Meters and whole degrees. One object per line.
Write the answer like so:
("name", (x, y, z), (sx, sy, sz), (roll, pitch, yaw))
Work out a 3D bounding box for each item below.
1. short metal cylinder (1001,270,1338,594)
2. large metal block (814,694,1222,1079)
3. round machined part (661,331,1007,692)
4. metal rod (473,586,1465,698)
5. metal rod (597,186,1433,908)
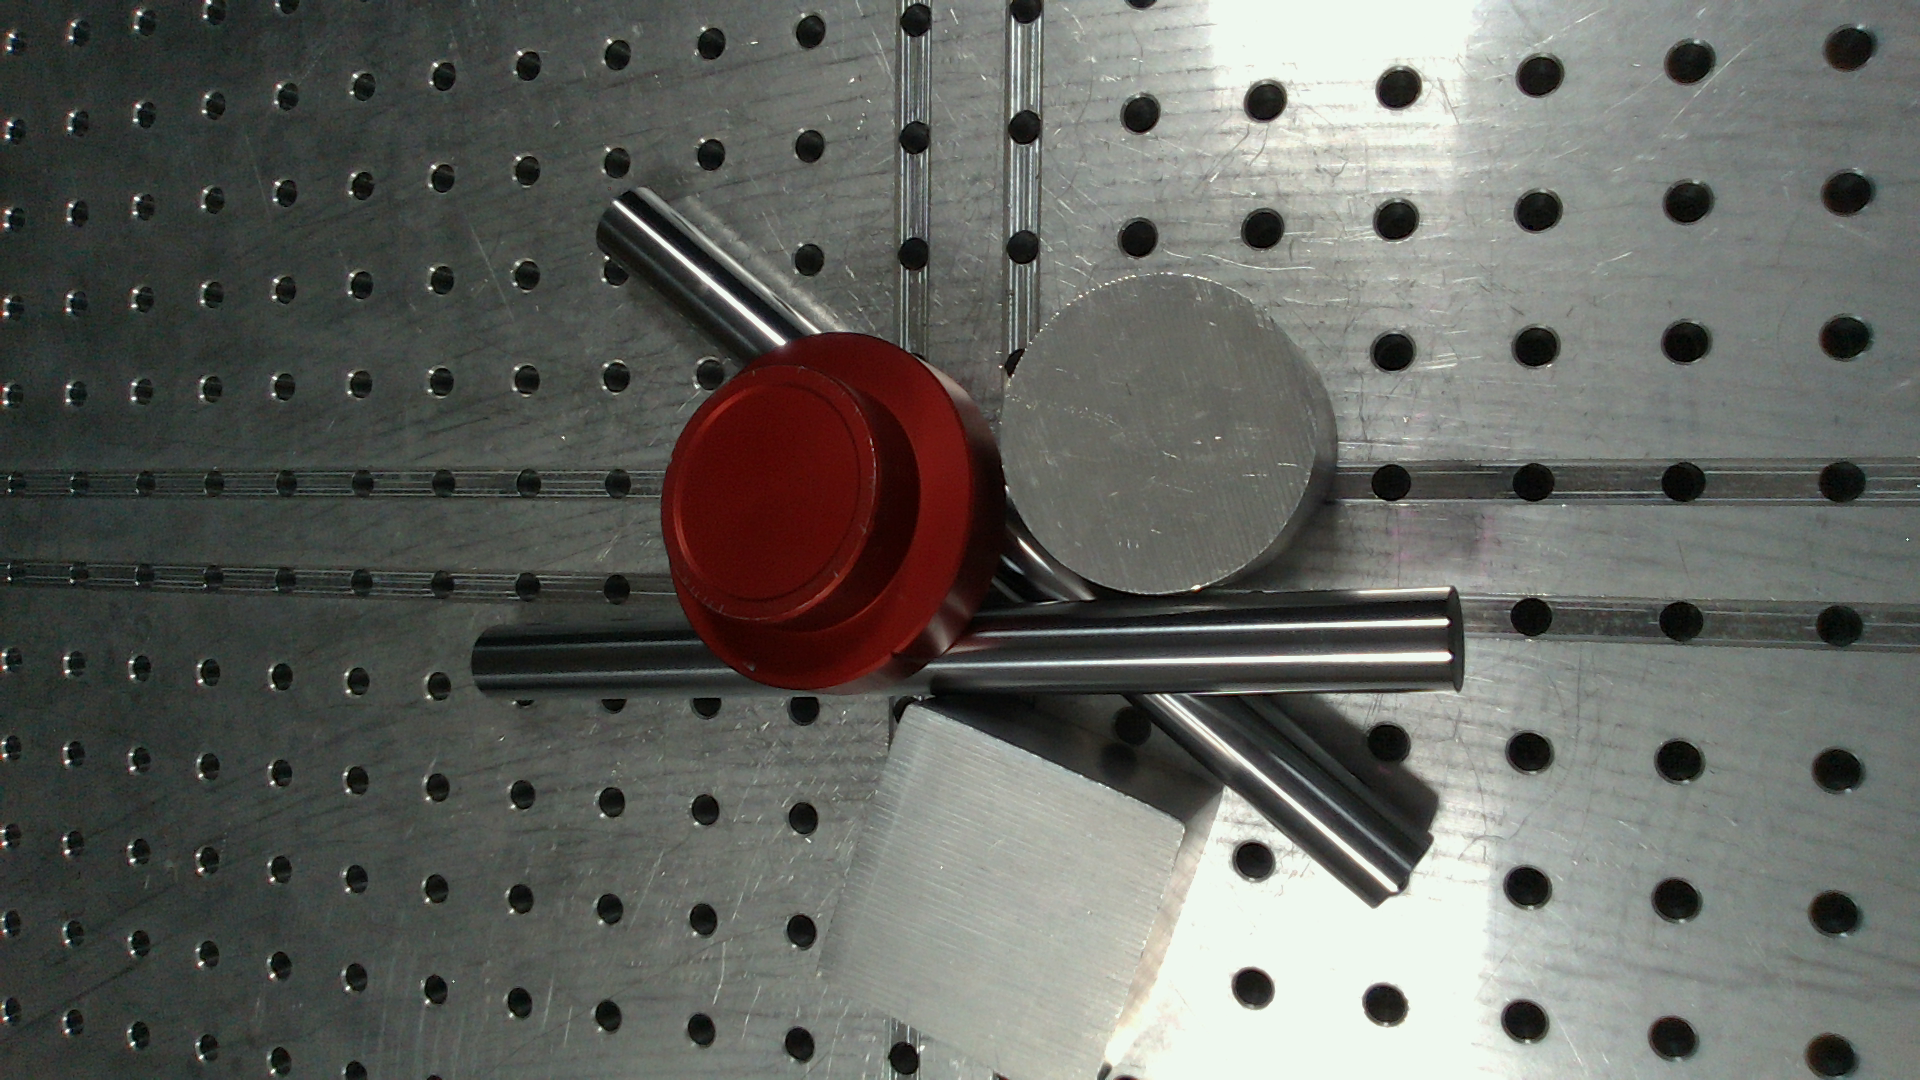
("short metal cylinder", (0.057, -0.027, 0.364), (0.080, 0.050, 0.080), (0, 90, 20))
("large metal block", (0.017, 0.093, 0.377), (0.080, 0.050, 0.080), (21, 97, 19))
("round machined part", (-0.040, -0.009, 0.368), (0.098, 0.042, 0.098), (-4, 79, 25))
("metal rod", (-0.018, 0.031, 0.385), (0.299, 0.025, 0.025), (-4, 89, 27))
("metal rod", (0.005, -0.008, 0.397), (0.300, 0.025, 0.025), (40, 103, 15))
